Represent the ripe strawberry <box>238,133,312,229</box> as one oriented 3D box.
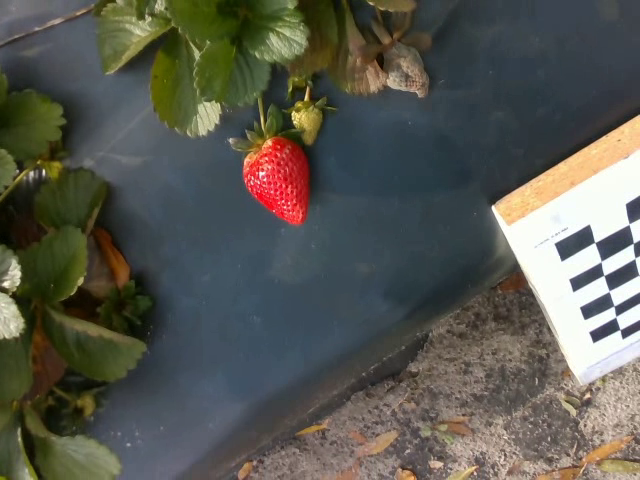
[{"bbox_3d":[-0.022,-0.031,0.343,0.045,0.058,0.050,-29,-1,9],"label":"ripe strawberry"}]
